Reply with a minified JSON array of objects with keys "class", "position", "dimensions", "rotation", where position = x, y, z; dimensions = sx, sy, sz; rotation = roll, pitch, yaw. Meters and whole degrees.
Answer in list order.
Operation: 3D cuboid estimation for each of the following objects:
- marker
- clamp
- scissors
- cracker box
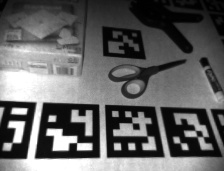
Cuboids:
[{"class":"marker","position":[0.218,-0.020,0.491],"dimensions":[0.020,0.019,0.120],"rotation":[1,56,-10]},{"class":"clamp","position":[0.122,-0.183,0.586],"dimensions":[0.202,0.036,0.166],"rotation":[29,55,7]},{"class":"scissors","position":[0.077,-0.033,0.471],"dimensions":[0.204,0.016,0.087],"rotation":[-21,62,-26]},{"class":"cracker box","position":[-0.151,-0.129,0.456],"dimensions":[0.165,0.072,0.212],"rotation":[5,56,-8]}]
